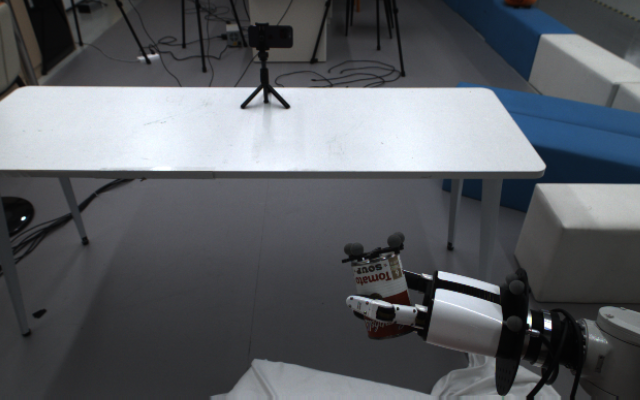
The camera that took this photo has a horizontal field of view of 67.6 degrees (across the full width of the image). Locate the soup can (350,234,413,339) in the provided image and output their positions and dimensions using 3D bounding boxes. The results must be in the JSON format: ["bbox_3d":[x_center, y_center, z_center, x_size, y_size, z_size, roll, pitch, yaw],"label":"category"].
[{"bbox_3d":[0.086,0.124,0.641,0.067,0.101,0.067,-14,-2,-1],"label":"soup can"}]
